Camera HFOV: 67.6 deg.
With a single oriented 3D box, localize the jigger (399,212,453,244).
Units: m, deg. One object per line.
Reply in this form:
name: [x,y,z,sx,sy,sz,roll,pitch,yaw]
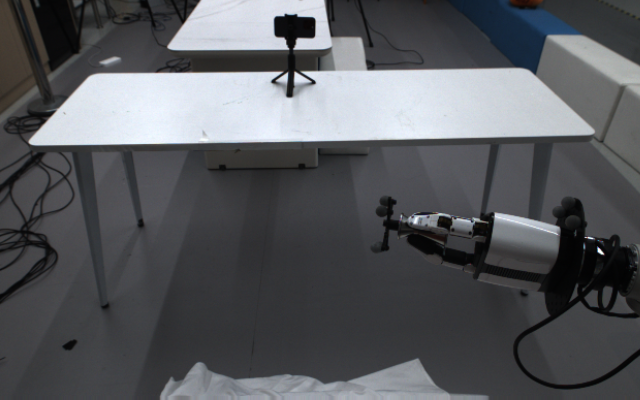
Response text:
jigger: [0.154,0.038,0.691,0.071,0.043,0.043,8,35,13]
